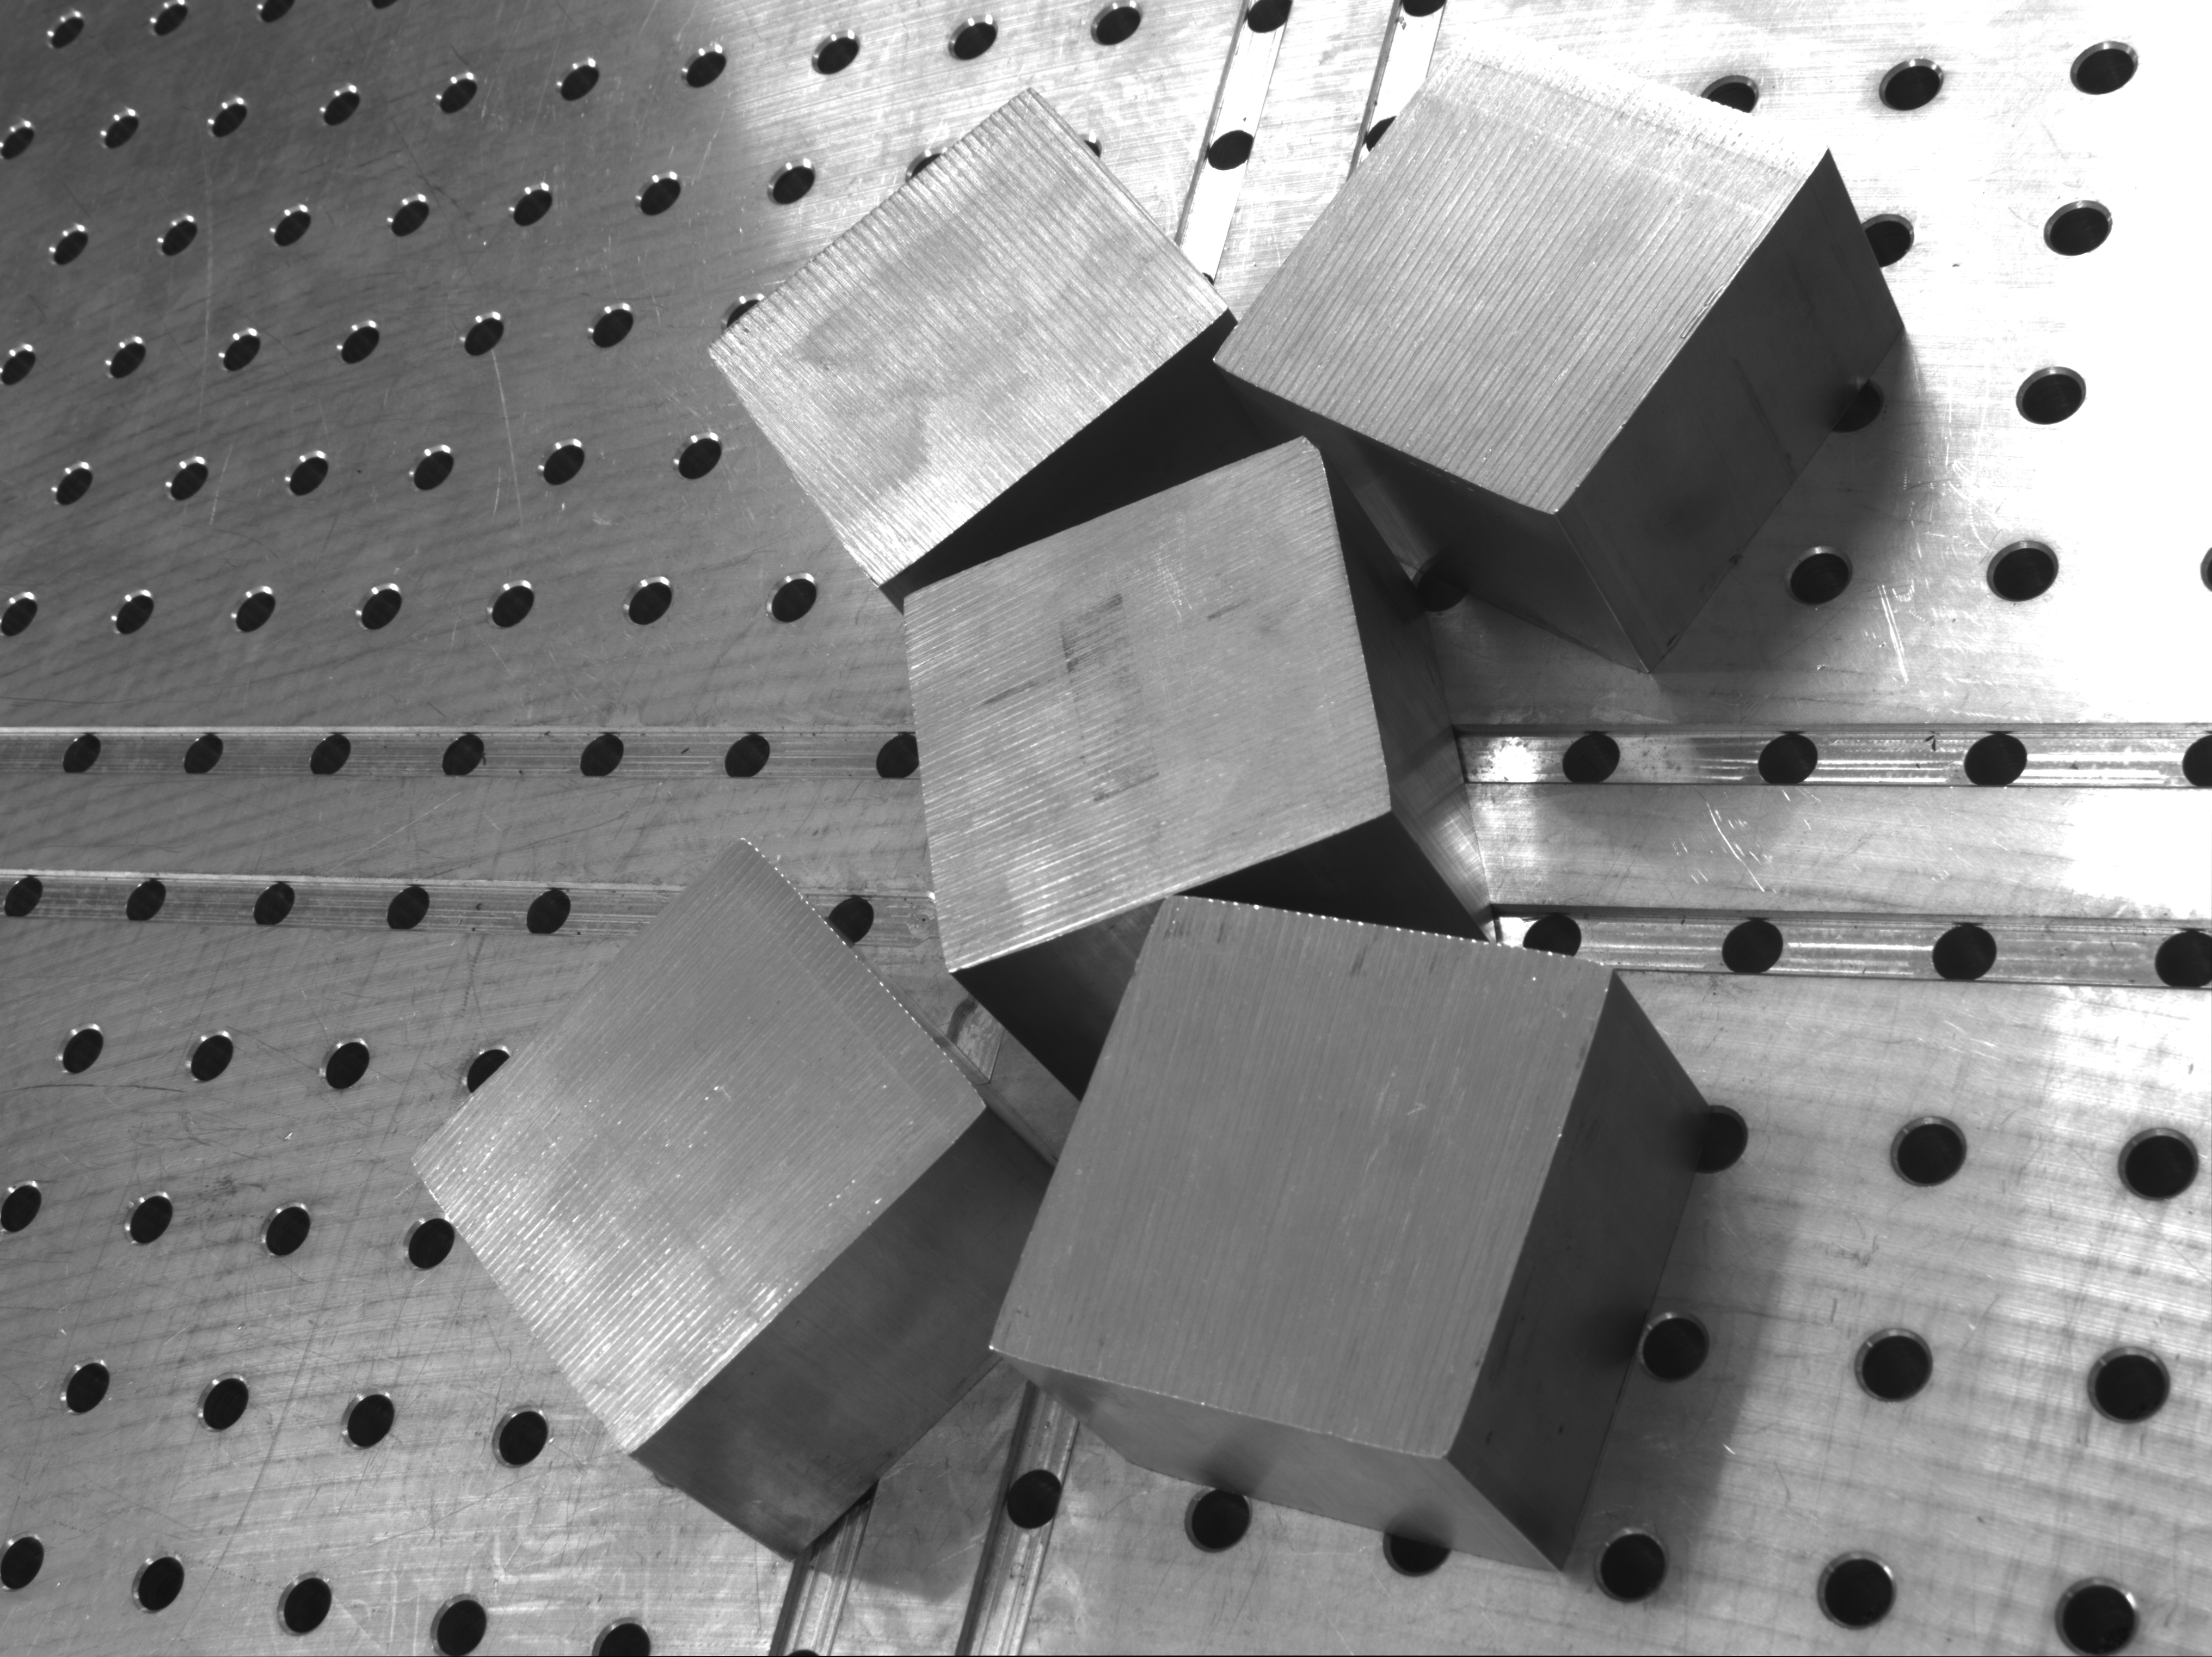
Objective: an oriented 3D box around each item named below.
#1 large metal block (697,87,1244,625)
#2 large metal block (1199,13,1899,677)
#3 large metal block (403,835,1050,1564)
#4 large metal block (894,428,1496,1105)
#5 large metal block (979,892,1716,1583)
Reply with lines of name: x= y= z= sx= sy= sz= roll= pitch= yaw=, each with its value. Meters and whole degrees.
large metal block: x=-0.018 y=-0.079 z=0.691 sx=0.080 sy=0.050 sz=0.080 roll=-38 pitch=50 yaw=3
large metal block: x=0.078 y=-0.085 z=0.642 sx=0.080 sy=0.050 sz=0.080 roll=30 pitch=78 yaw=35
large metal block: x=-0.059 y=0.062 z=0.624 sx=0.080 sy=0.050 sz=0.080 roll=-44 pitch=50 yaw=-2
large metal block: x=0.014 y=-0.010 z=0.630 sx=0.080 sy=0.050 sz=0.080 roll=-21 pitch=54 yaw=16
large metal block: x=0.039 y=0.062 z=0.573 sx=0.080 sy=0.050 sz=0.080 roll=10 pitch=66 yaw=32
